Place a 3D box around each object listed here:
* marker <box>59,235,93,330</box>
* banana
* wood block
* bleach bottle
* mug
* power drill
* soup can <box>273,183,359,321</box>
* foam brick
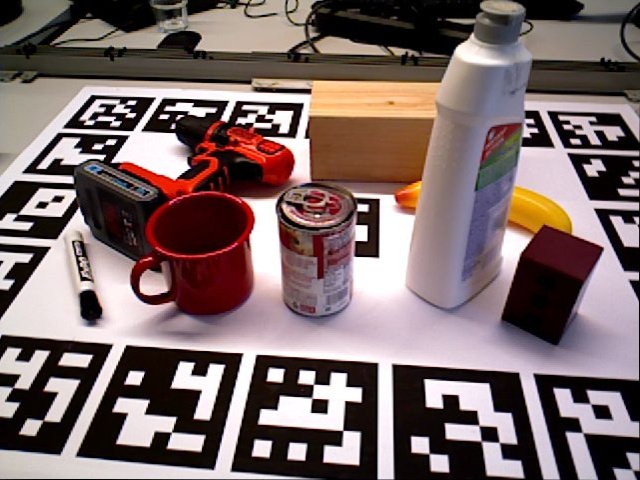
[{"bbox_3d":[-0.228,0.038,0.506,0.019,0.020,0.120,-18,45,-17],"label":"marker"},{"bbox_3d":[0.165,-0.038,0.566,0.197,0.039,0.073,16,57,15],"label":"banana"},{"bbox_3d":[0.094,-0.117,0.625,0.206,0.093,0.088,3,42,4],"label":"wood block"},{"bbox_3d":[0.122,-0.054,0.425,0.068,0.256,0.100,25,45,26],"label":"bleach bottle"},{"bbox_3d":[-0.113,0.017,0.475,0.115,0.083,0.093,-32,52,-27],"label":"mug"},{"bbox_3d":[-0.147,-0.065,0.600,0.185,0.059,0.182,27,46,23],"label":"power drill"},{"bbox_3d":[-0.005,0.010,0.459,0.067,0.104,0.067,1,37,-2],"label":"soup can"},{"bbox_3d":[0.195,0.048,0.442,0.053,0.080,0.050,27,46,31],"label":"foam brick"}]
